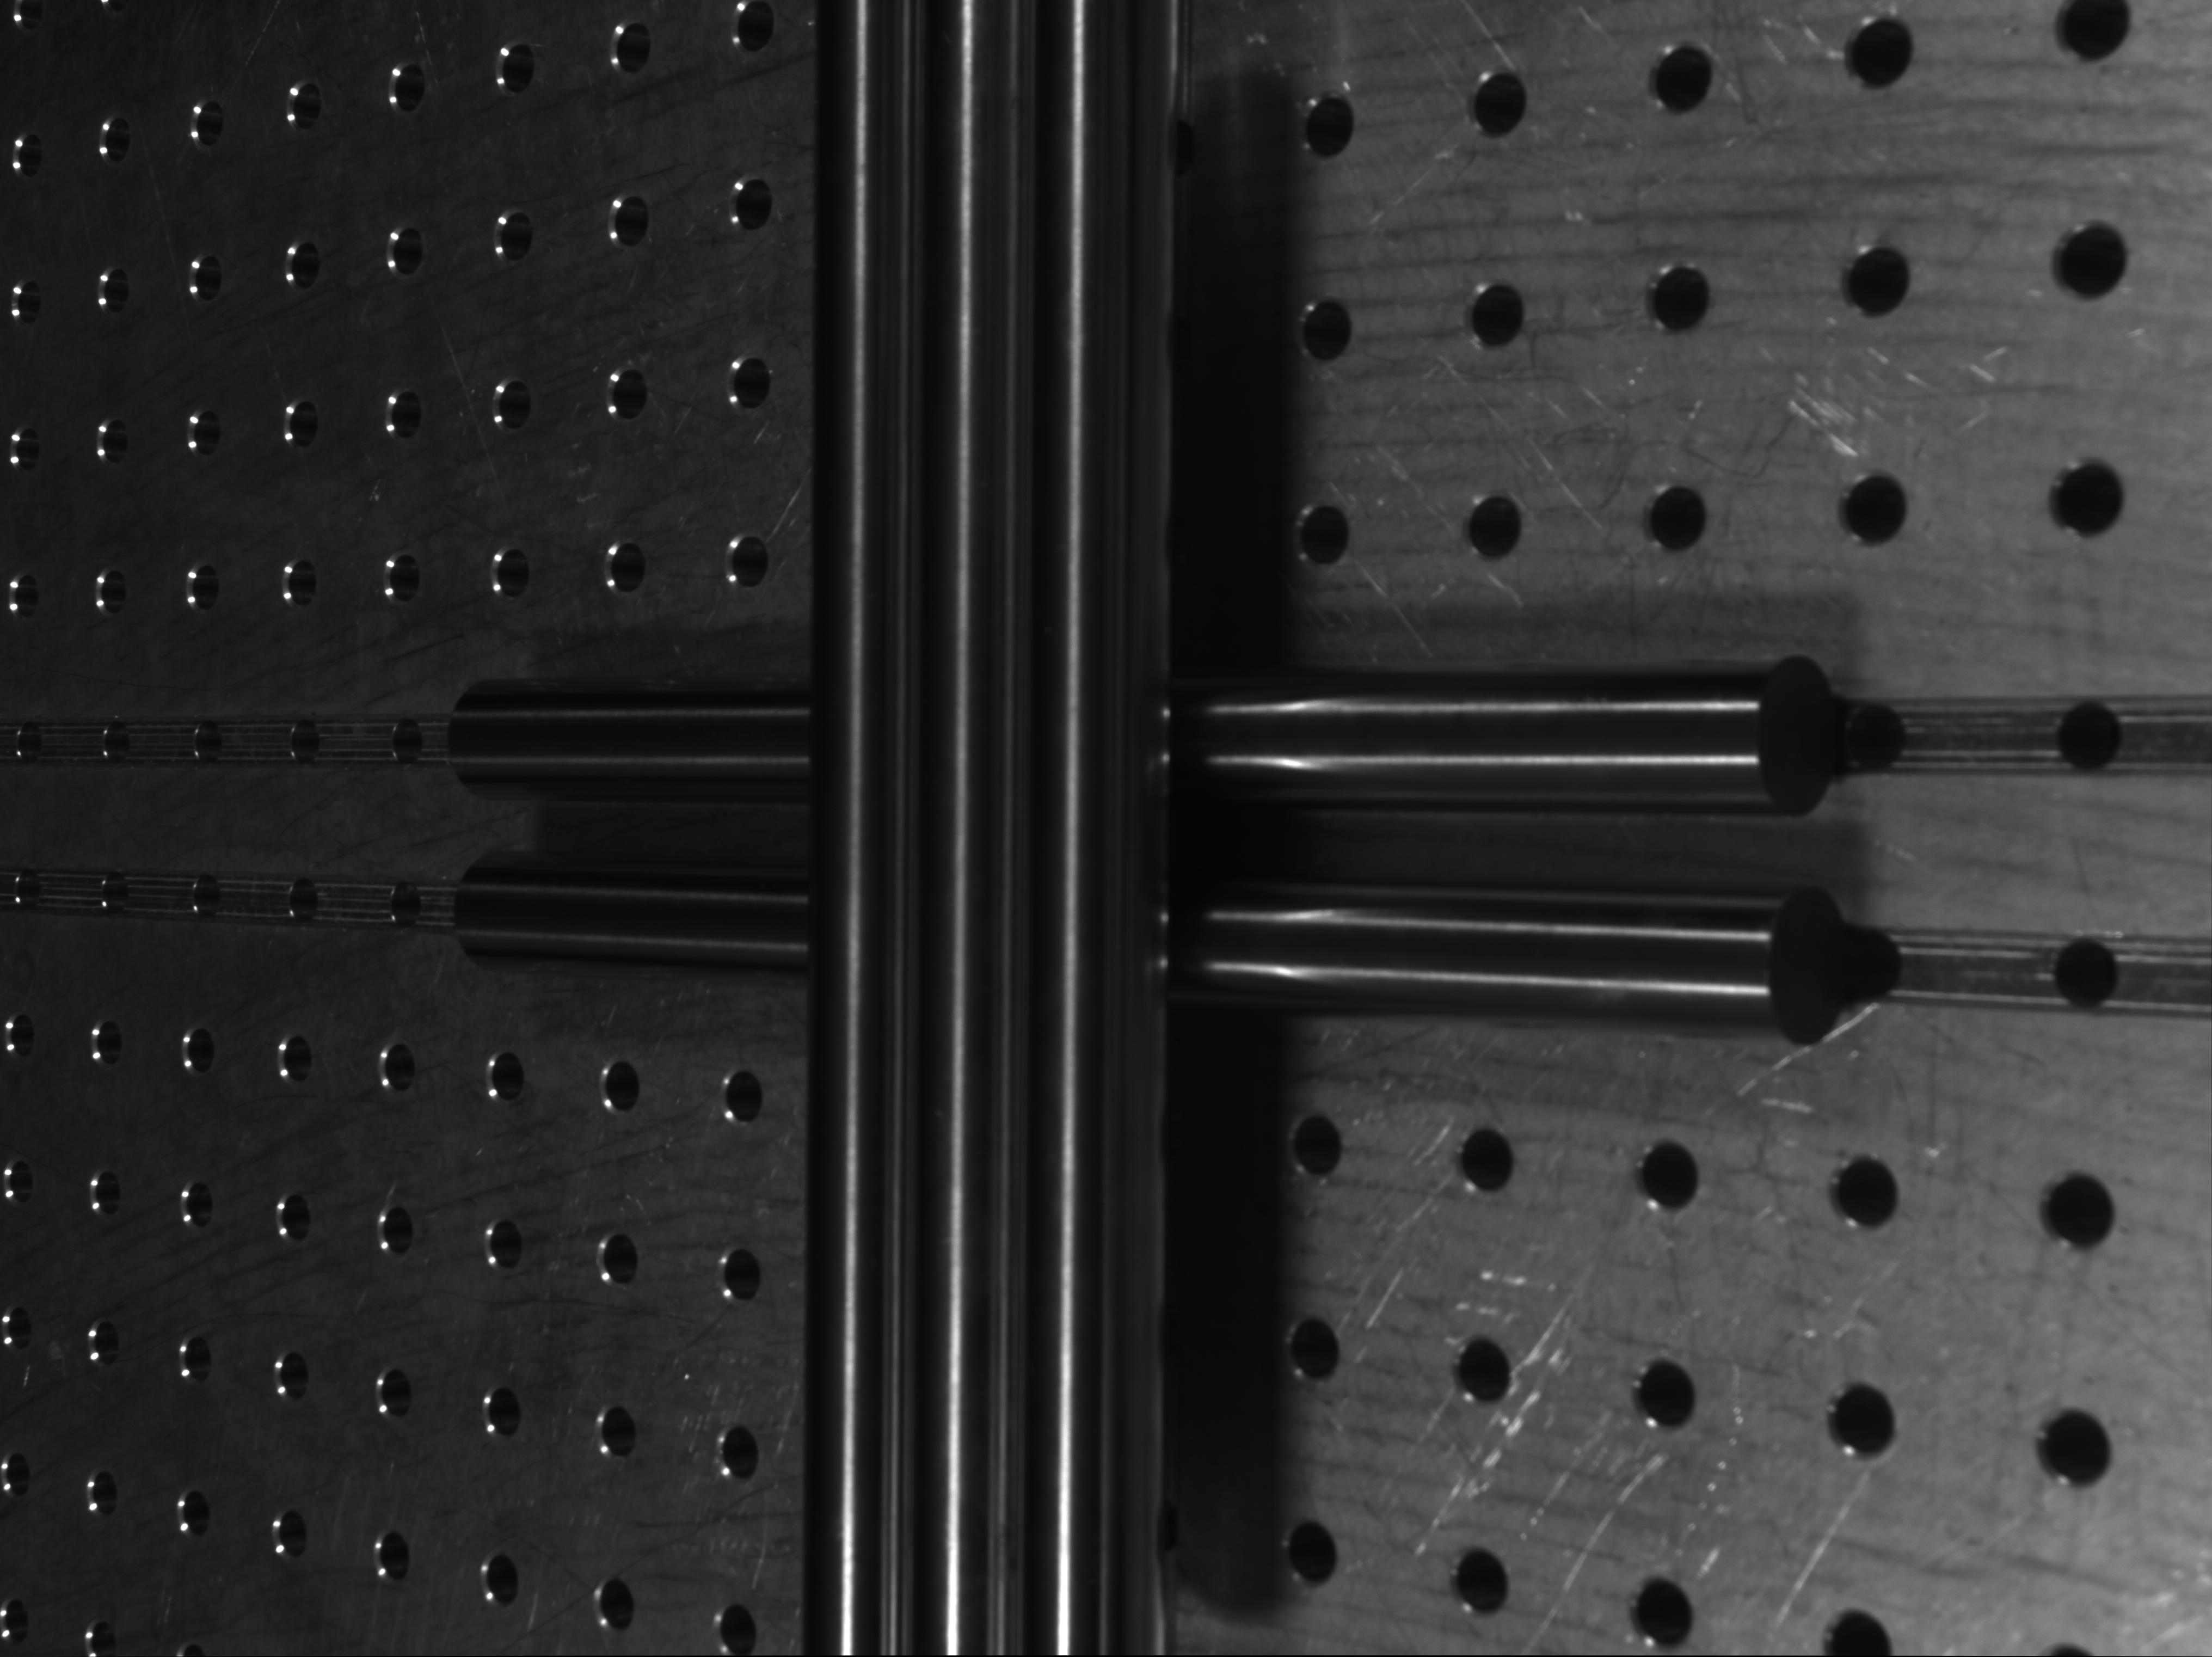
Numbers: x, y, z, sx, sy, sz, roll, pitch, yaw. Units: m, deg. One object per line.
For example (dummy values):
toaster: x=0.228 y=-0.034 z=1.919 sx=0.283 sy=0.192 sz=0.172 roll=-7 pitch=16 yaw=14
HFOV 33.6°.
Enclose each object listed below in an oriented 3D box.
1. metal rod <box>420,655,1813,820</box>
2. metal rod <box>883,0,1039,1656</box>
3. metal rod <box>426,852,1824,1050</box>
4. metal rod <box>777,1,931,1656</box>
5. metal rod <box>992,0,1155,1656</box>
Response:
metal rod: x=-0.014 y=-0.016 z=0.651 sx=0.299 sy=0.025 sz=0.025 roll=1 pitch=90 yaw=39
metal rod: x=-0.025 y=0.003 z=0.628 sx=0.025 sy=0.025 sz=0.300 roll=1 pitch=90 yaw=39
metal rod: x=-0.013 y=0.019 z=0.650 sx=0.299 sy=0.025 sz=0.025 roll=1 pitch=90 yaw=39
metal rod: x=-0.044 y=0.003 z=0.643 sx=0.025 sy=0.025 sz=0.300 roll=1 pitch=90 yaw=39
metal rod: x=-0.005 y=0.001 z=0.612 sx=0.025 sy=0.025 sz=0.300 roll=1 pitch=90 yaw=39
